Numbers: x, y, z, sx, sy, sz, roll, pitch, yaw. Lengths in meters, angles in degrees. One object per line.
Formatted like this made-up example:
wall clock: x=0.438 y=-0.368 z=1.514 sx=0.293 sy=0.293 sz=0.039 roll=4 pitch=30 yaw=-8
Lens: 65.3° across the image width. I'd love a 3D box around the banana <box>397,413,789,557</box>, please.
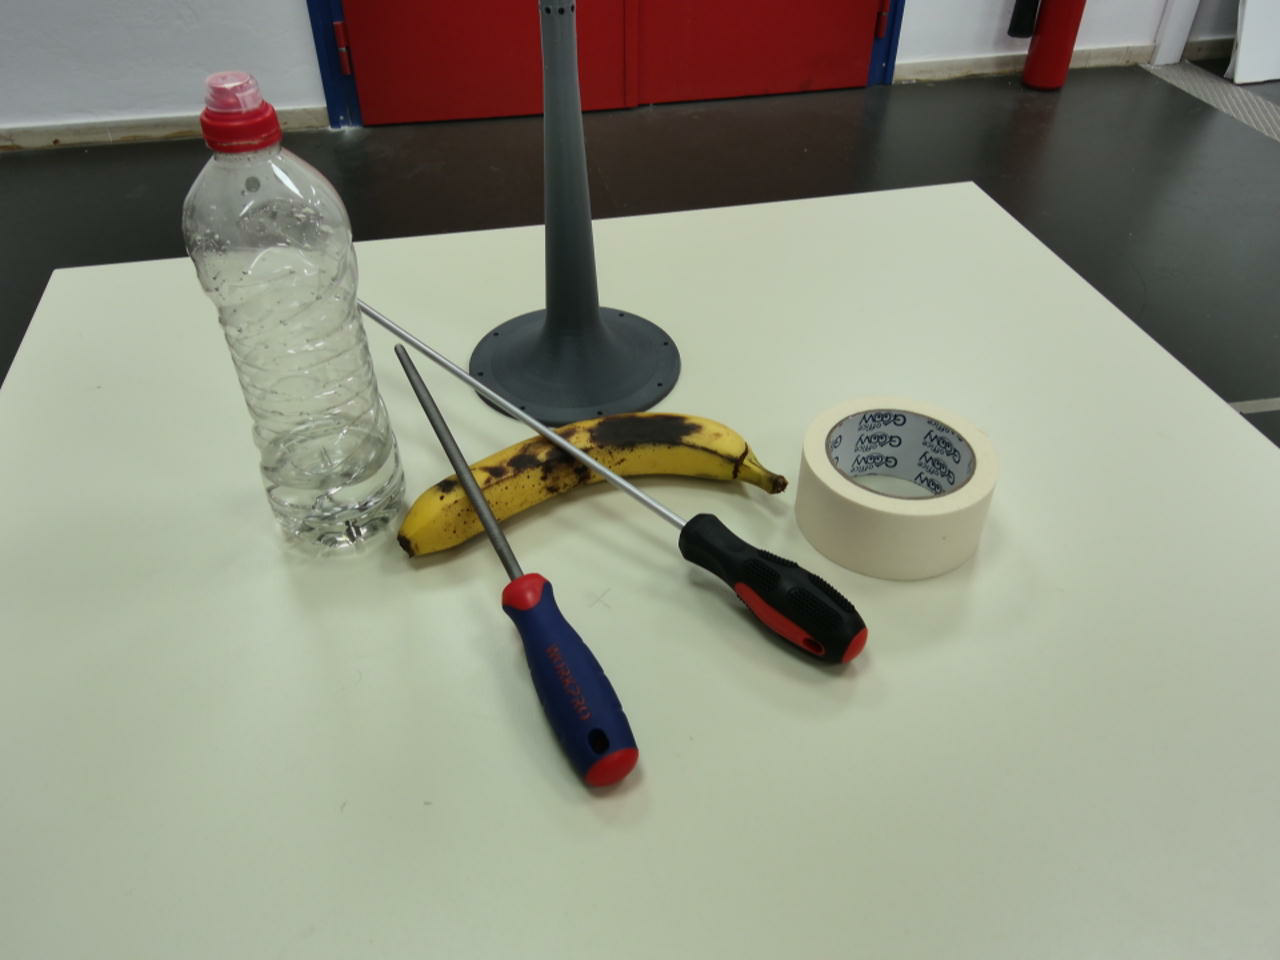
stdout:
banana: x=-0.030 y=-0.004 z=0.587 sx=0.222 sy=0.037 sz=0.084 roll=-8 pitch=40 yaw=-10
